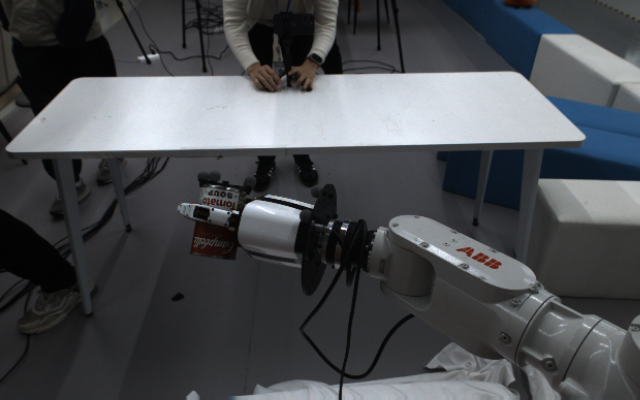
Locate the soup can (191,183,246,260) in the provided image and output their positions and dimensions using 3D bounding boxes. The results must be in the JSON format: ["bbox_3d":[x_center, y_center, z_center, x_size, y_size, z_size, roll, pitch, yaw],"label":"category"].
[{"bbox_3d":[-0.148,0.034,0.708,0.067,0.101,0.067,8,-6,1],"label":"soup can"}]
